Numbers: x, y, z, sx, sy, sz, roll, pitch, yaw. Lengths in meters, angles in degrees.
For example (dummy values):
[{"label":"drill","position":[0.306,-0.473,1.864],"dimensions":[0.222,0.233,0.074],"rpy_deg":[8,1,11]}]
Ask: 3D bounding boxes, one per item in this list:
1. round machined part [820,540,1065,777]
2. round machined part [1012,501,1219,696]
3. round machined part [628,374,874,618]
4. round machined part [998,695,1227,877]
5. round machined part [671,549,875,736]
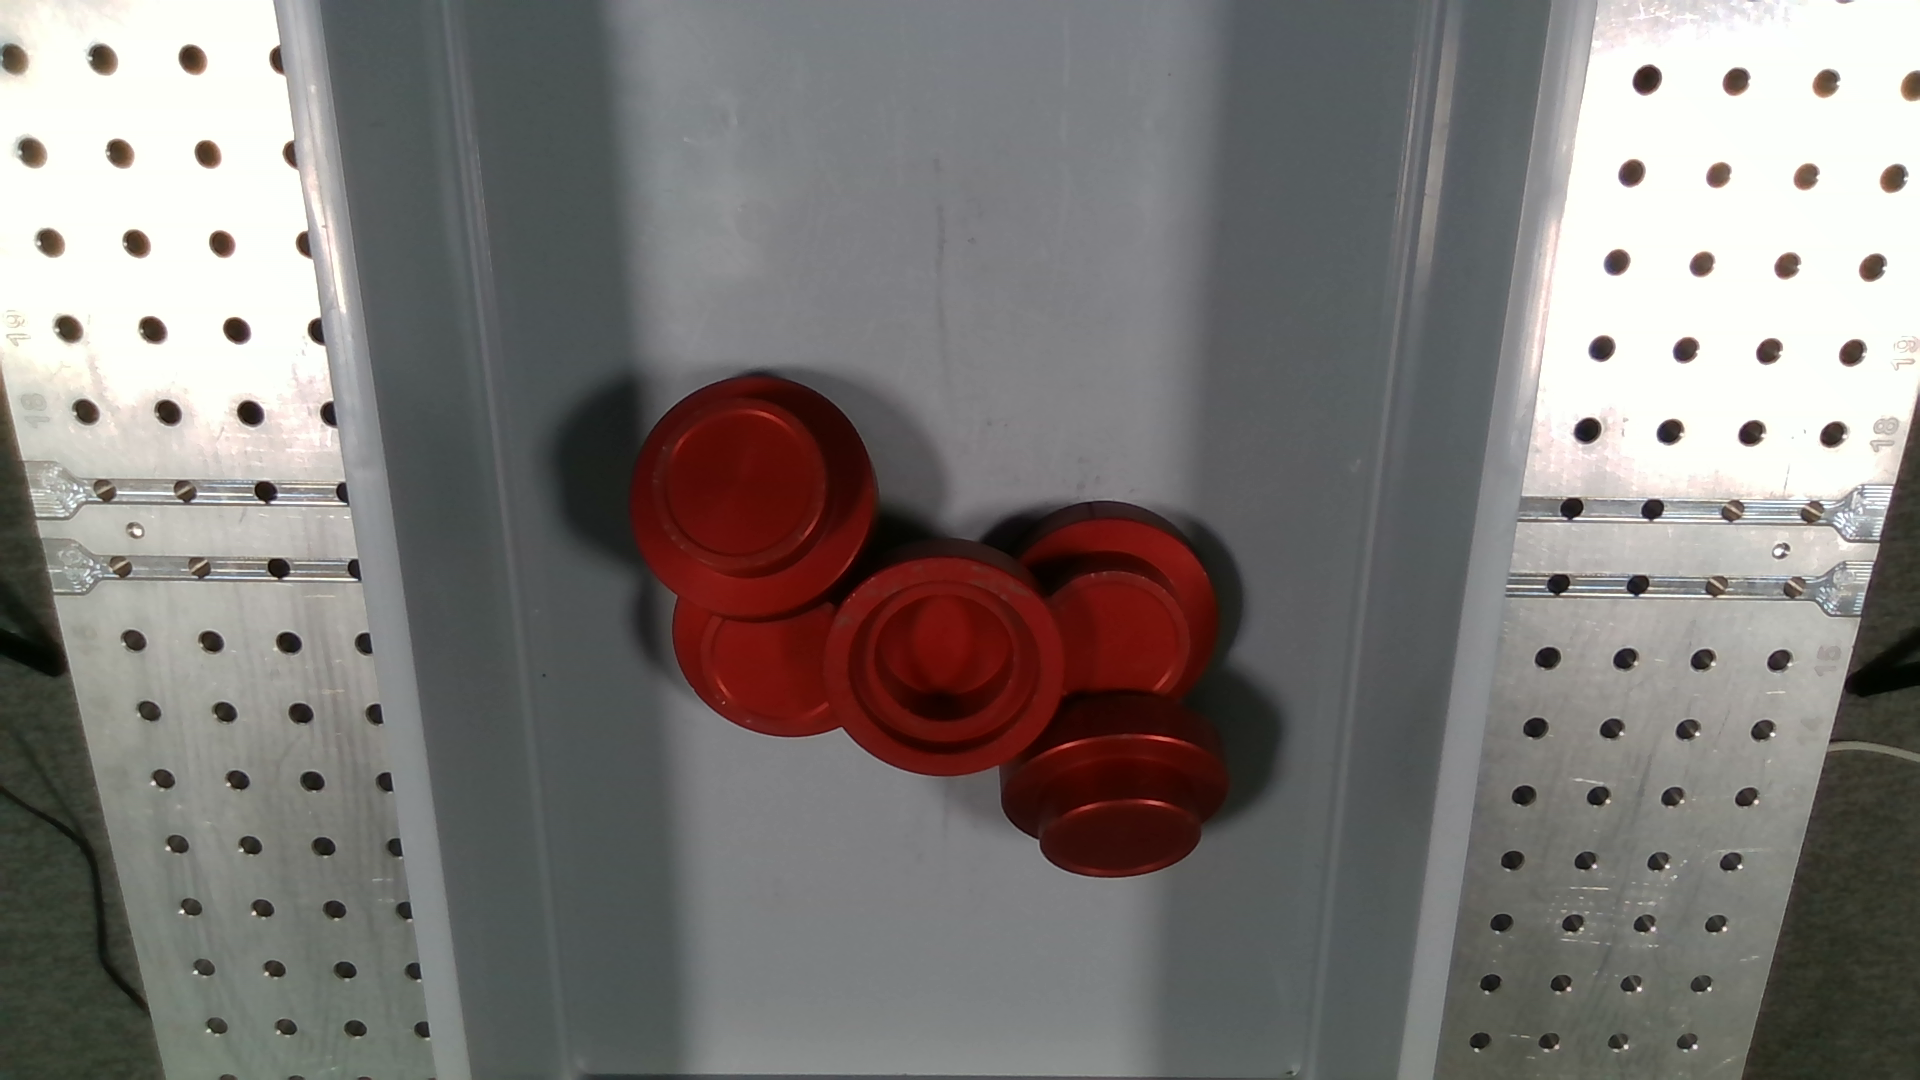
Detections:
[{"label":"round machined part","position":[-0.007,0.044,0.567],"dimensions":[0.098,0.042,0.098],"rpy_deg":[0,110,0]},{"label":"round machined part","position":[0.061,0.036,0.587],"dimensions":[0.098,0.042,0.098],"rpy_deg":[0,110,0]},{"label":"round machined part","position":[-0.084,-0.019,0.545],"dimensions":[0.098,0.042,0.098],"rpy_deg":[-1,80,3]},{"label":"round machined part","position":[0.066,0.111,0.593],"dimensions":[0.098,0.042,0.098],"rpy_deg":[-2,141,-2]},{"label":"round machined part","position":[-0.075,0.041,0.589],"dimensions":[0.098,0.042,0.098],"rpy_deg":[0,110,0]}]
